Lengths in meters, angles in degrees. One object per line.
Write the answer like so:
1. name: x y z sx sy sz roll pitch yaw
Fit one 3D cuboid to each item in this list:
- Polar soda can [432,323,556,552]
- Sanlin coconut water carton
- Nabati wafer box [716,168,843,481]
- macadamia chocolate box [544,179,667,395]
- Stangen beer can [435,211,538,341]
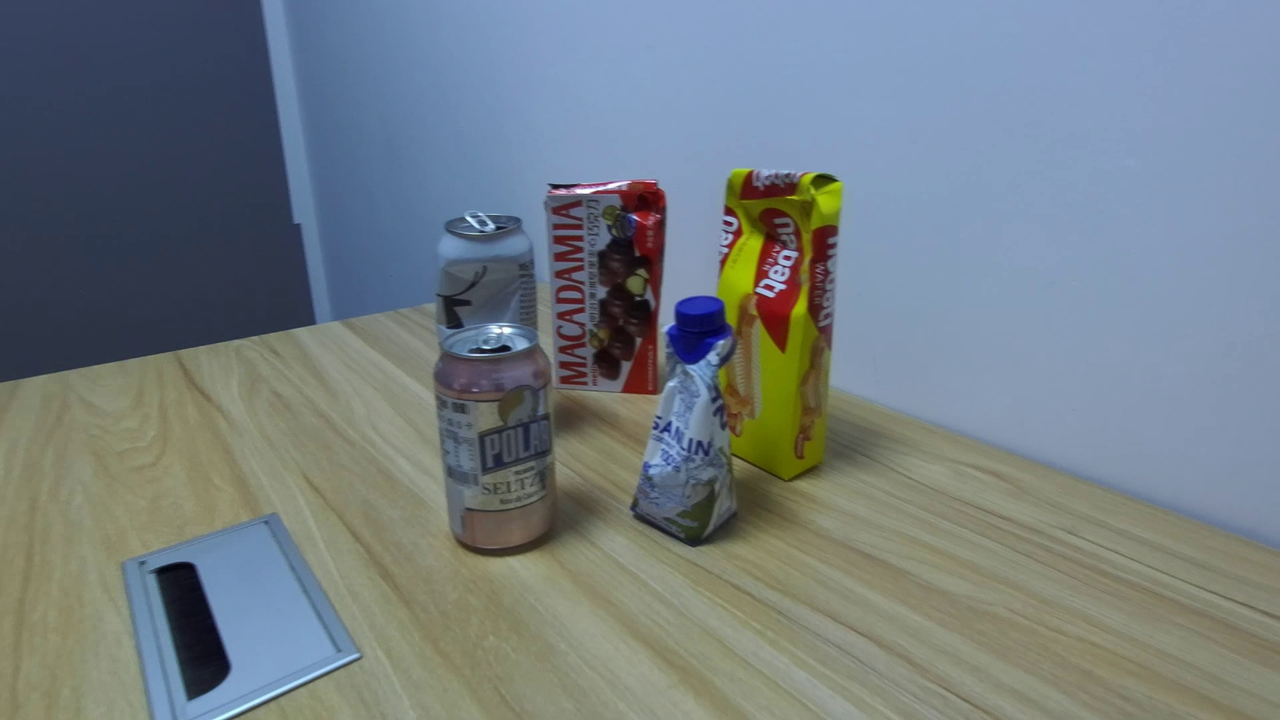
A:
1. Polar soda can: -0.084 0.046 0.418 0.067 0.125 0.067 1 20 0
2. Sanlin coconut water carton: 0.041 0.033 0.425 0.056 0.144 0.069 23 21 33
3. Nabati wafer box: 0.088 -0.026 0.491 0.043 0.205 0.112 -14 23 -36
4. macadamia chocolate box: -0.027 -0.060 0.607 0.102 0.187 0.027 4 26 11
5. Stangen beer can: -0.110 -0.021 0.524 0.070 0.173 0.070 -19 27 -39
